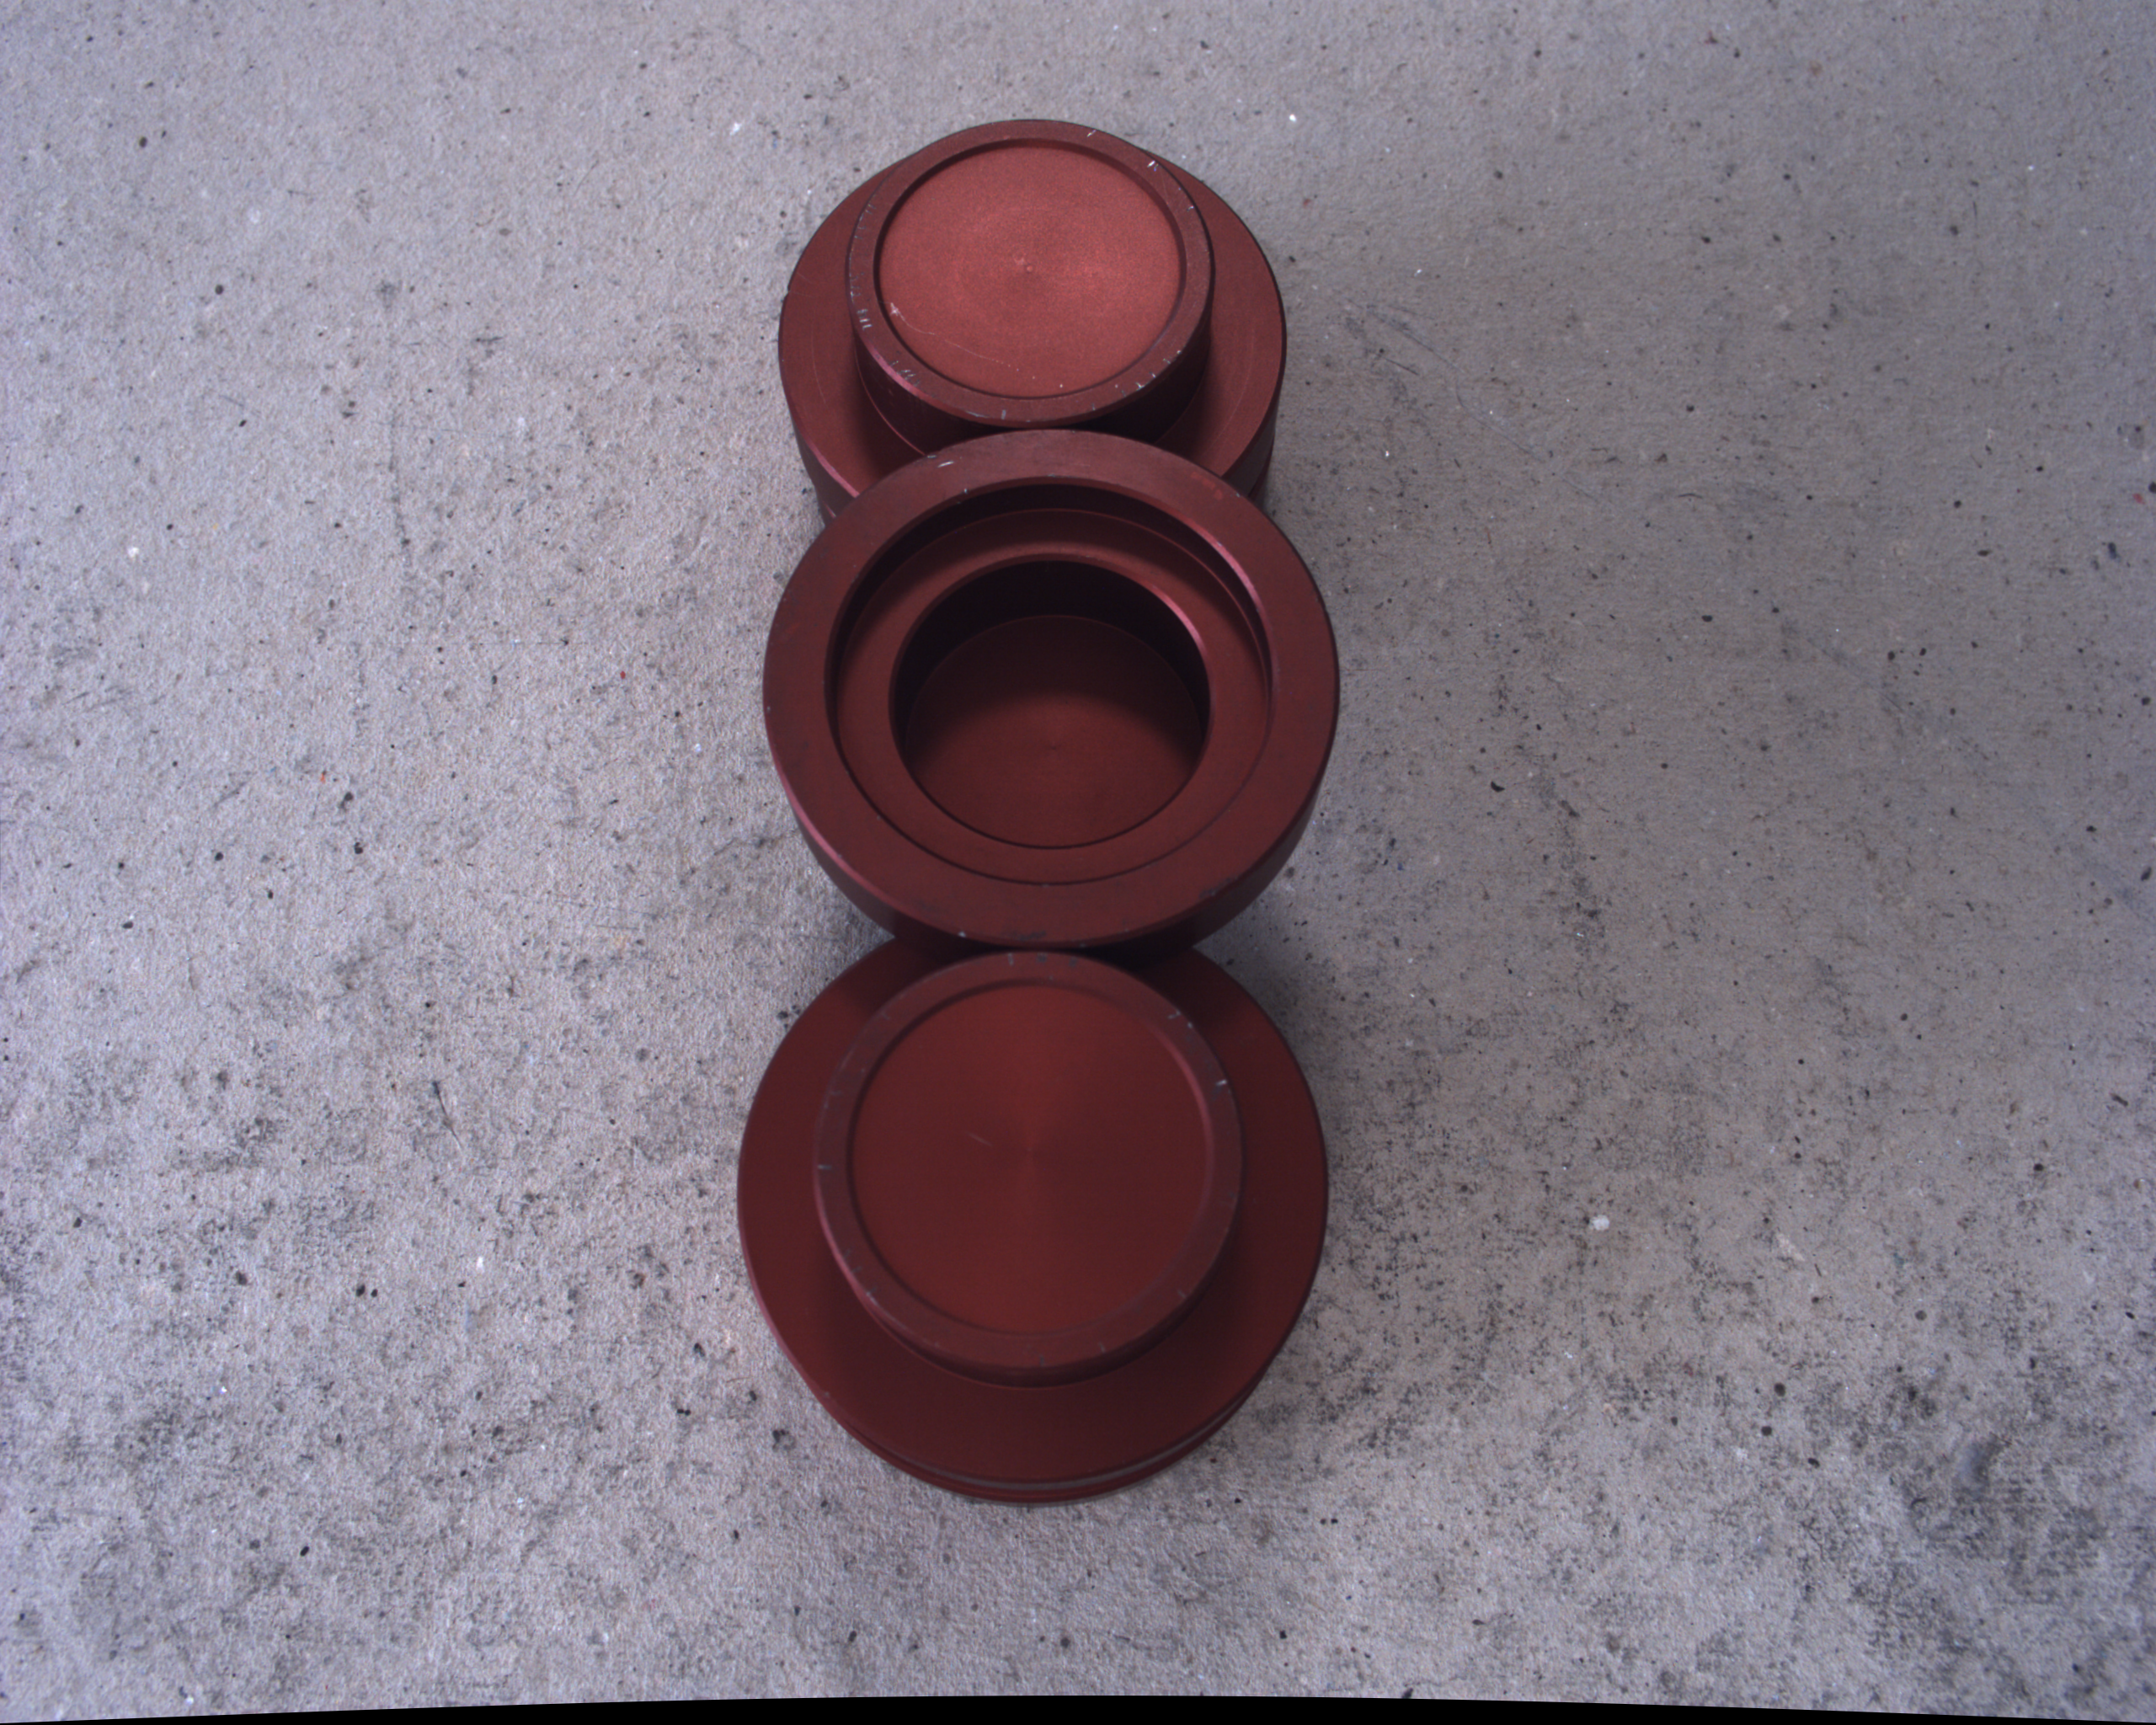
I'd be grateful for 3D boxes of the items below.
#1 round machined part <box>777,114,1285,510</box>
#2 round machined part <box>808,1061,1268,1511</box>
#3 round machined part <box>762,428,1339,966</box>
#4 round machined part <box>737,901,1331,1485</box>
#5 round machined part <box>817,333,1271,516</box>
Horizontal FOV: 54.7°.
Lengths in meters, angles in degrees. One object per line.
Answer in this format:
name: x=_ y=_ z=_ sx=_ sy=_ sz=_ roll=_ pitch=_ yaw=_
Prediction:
round machined part: x=-0.009 y=-0.104 z=0.403 sx=0.099 sy=0.042 sz=0.098 roll=0 pitch=70 yaw=1
round machined part: x=-0.008 y=0.066 z=0.377 sx=0.099 sy=0.042 sz=0.098 roll=0 pitch=69 yaw=1
round machined part: x=-0.005 y=-0.025 z=0.376 sx=0.099 sy=0.042 sz=0.098 roll=0 pitch=70 yaw=0
round machined part: x=-0.007 y=0.052 z=0.345 sx=0.099 sy=0.042 sz=0.098 roll=0 pitch=70 yaw=1
round machined part: x=-0.008 y=-0.095 z=0.435 sx=0.099 sy=0.042 sz=0.098 roll=0 pitch=70 yaw=1
